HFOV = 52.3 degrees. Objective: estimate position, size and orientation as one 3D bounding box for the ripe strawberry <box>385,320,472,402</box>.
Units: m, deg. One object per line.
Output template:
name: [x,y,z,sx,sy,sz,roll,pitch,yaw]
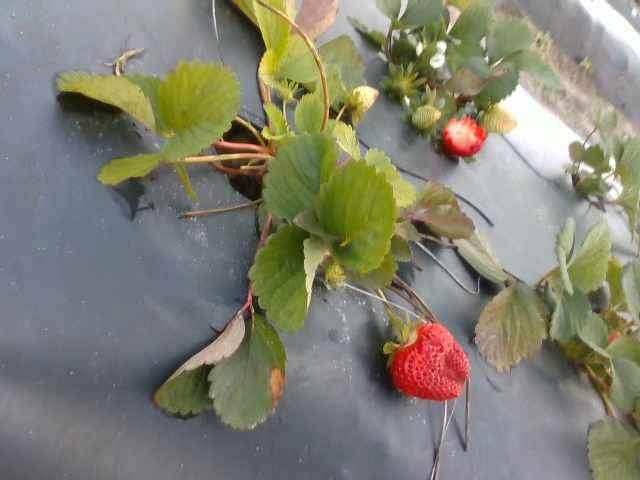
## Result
ripe strawberry: [0.019,0.022,0.108,0.015,0.017,0.014,35,-23,26]
